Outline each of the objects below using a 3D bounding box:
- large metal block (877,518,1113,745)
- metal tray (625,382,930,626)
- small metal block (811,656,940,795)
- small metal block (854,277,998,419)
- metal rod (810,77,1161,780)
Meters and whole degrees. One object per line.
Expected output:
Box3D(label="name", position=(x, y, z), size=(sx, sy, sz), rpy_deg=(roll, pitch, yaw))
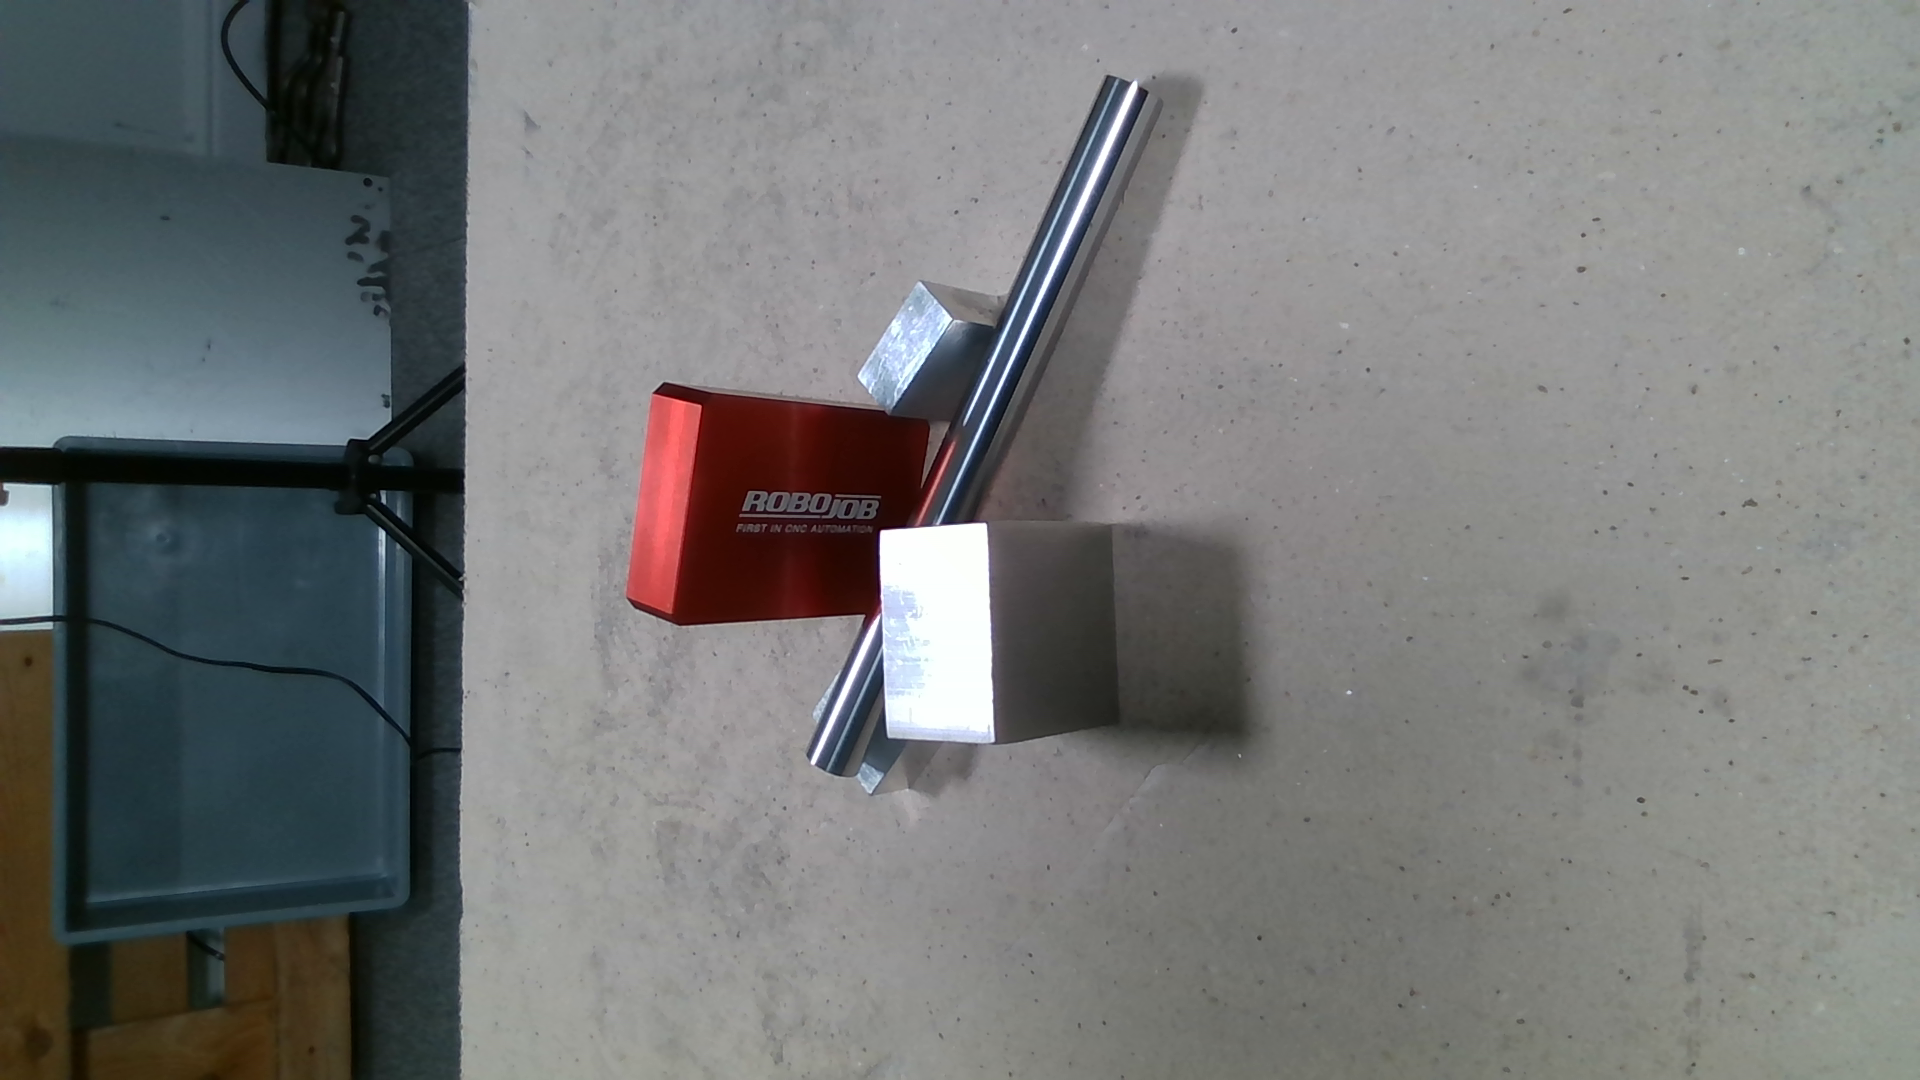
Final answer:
Box3D(label="large metal block", position=(0.015, 0.033, 0.533), size=(0.050, 0.080, 0.080), rpy_deg=(-3, 89, 40))
Box3D(label="metal tray", position=(-0.072, -0.014, 0.575), size=(0.030, 0.130, 0.090), rpy_deg=(16, 100, 39))
Box3D(label="small metal block", position=(-0.033, 0.076, 0.611), size=(0.050, 0.025, 0.050), rpy_deg=(49, 119, 29))
Box3D(label="small metal block", position=(-0.007, -0.078, 0.570), size=(0.025, 0.050, 0.050), rpy_deg=(52, 121, 27))
Box3D(label="metal rod", position=(0.006, -0.037, 0.559), size=(0.025, 0.025, 0.300), rpy_deg=(33, 106, 35))
